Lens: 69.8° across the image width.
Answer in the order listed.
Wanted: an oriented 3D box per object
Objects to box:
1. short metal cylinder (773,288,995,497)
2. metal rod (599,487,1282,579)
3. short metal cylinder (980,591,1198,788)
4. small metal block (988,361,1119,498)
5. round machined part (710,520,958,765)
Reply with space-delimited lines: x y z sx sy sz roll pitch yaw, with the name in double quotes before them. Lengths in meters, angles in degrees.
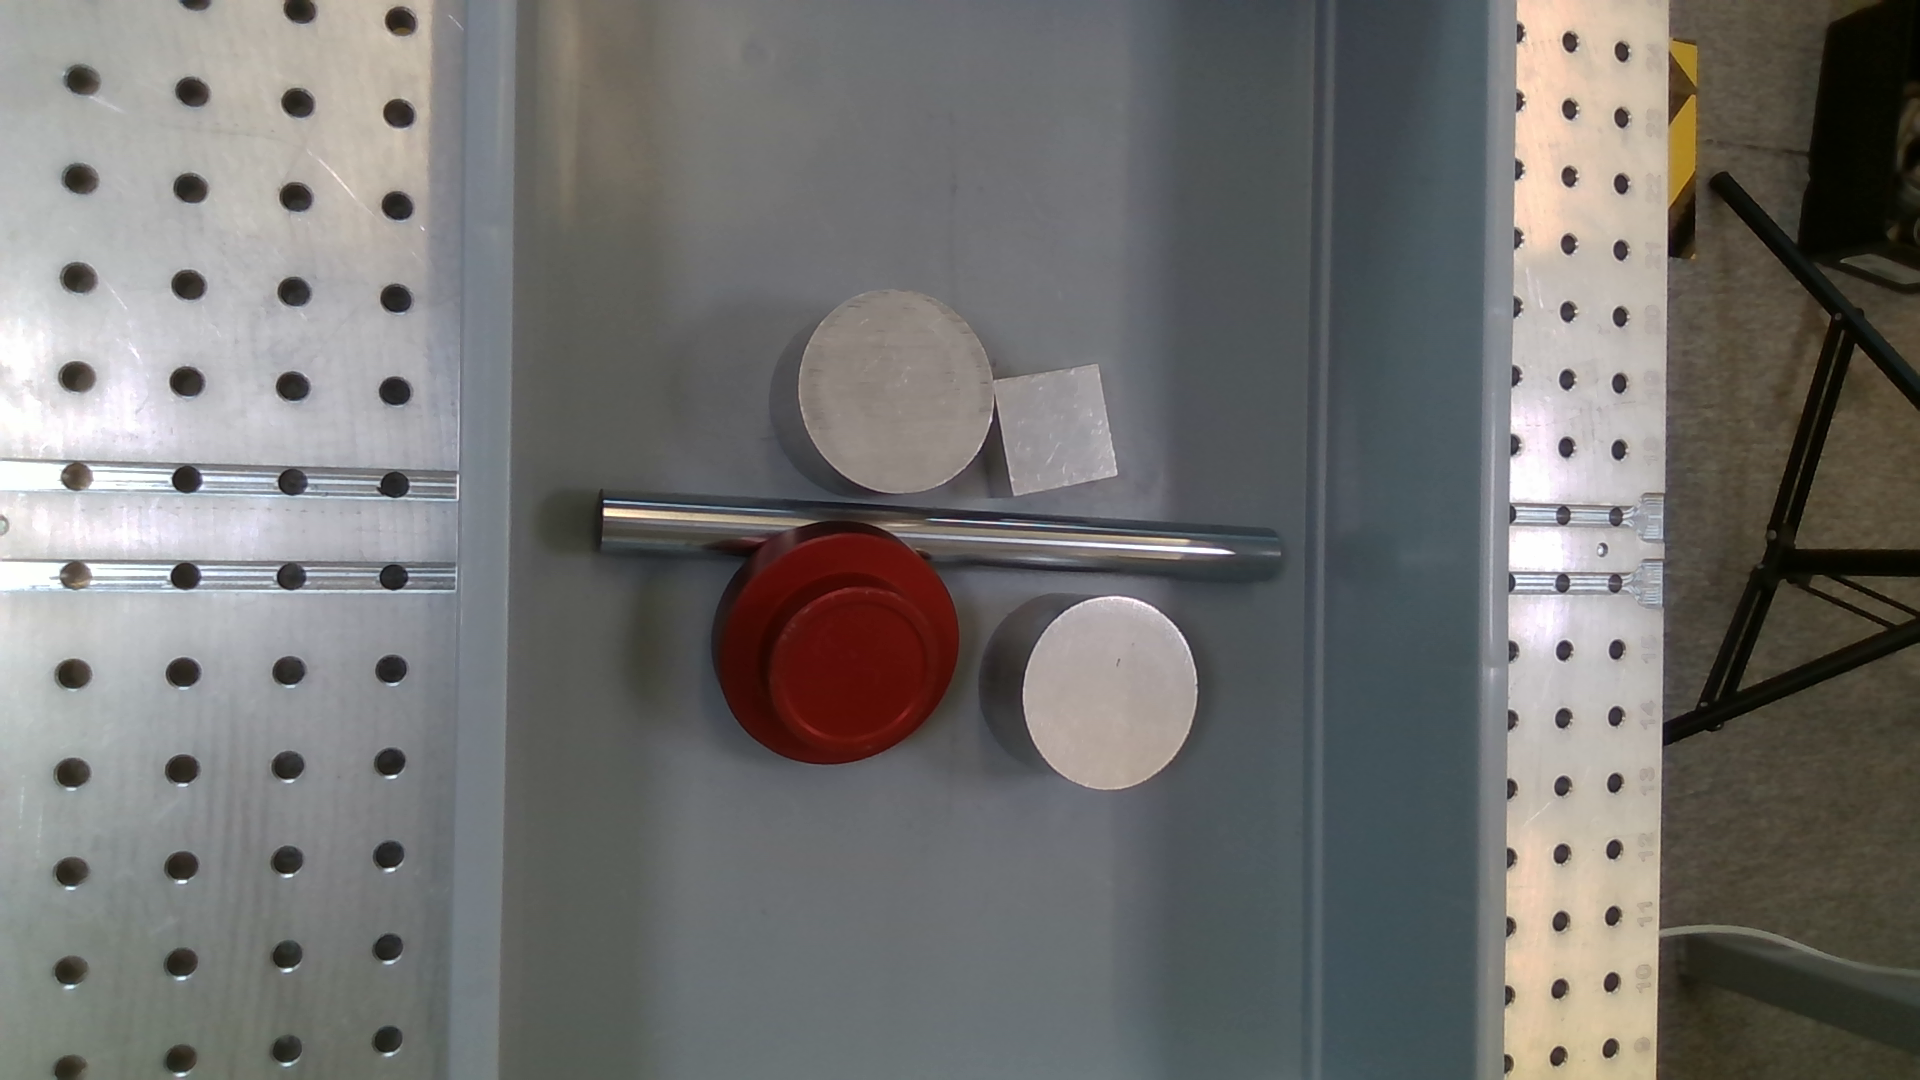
"short metal cylinder" -0.032 -0.058 0.559 0.080 0.050 0.080 0 90 -20
"metal rod" 0.001 -0.001 0.585 0.300 0.025 0.025 3 89 -20
"short metal cylinder" 0.055 0.063 0.592 0.080 0.050 0.080 0 90 -20
"small metal block" 0.037 -0.048 0.598 0.050 0.025 0.050 -12 94 -20
"round machined part" -0.047 0.045 0.546 0.098 0.042 0.098 -6 108 -19
